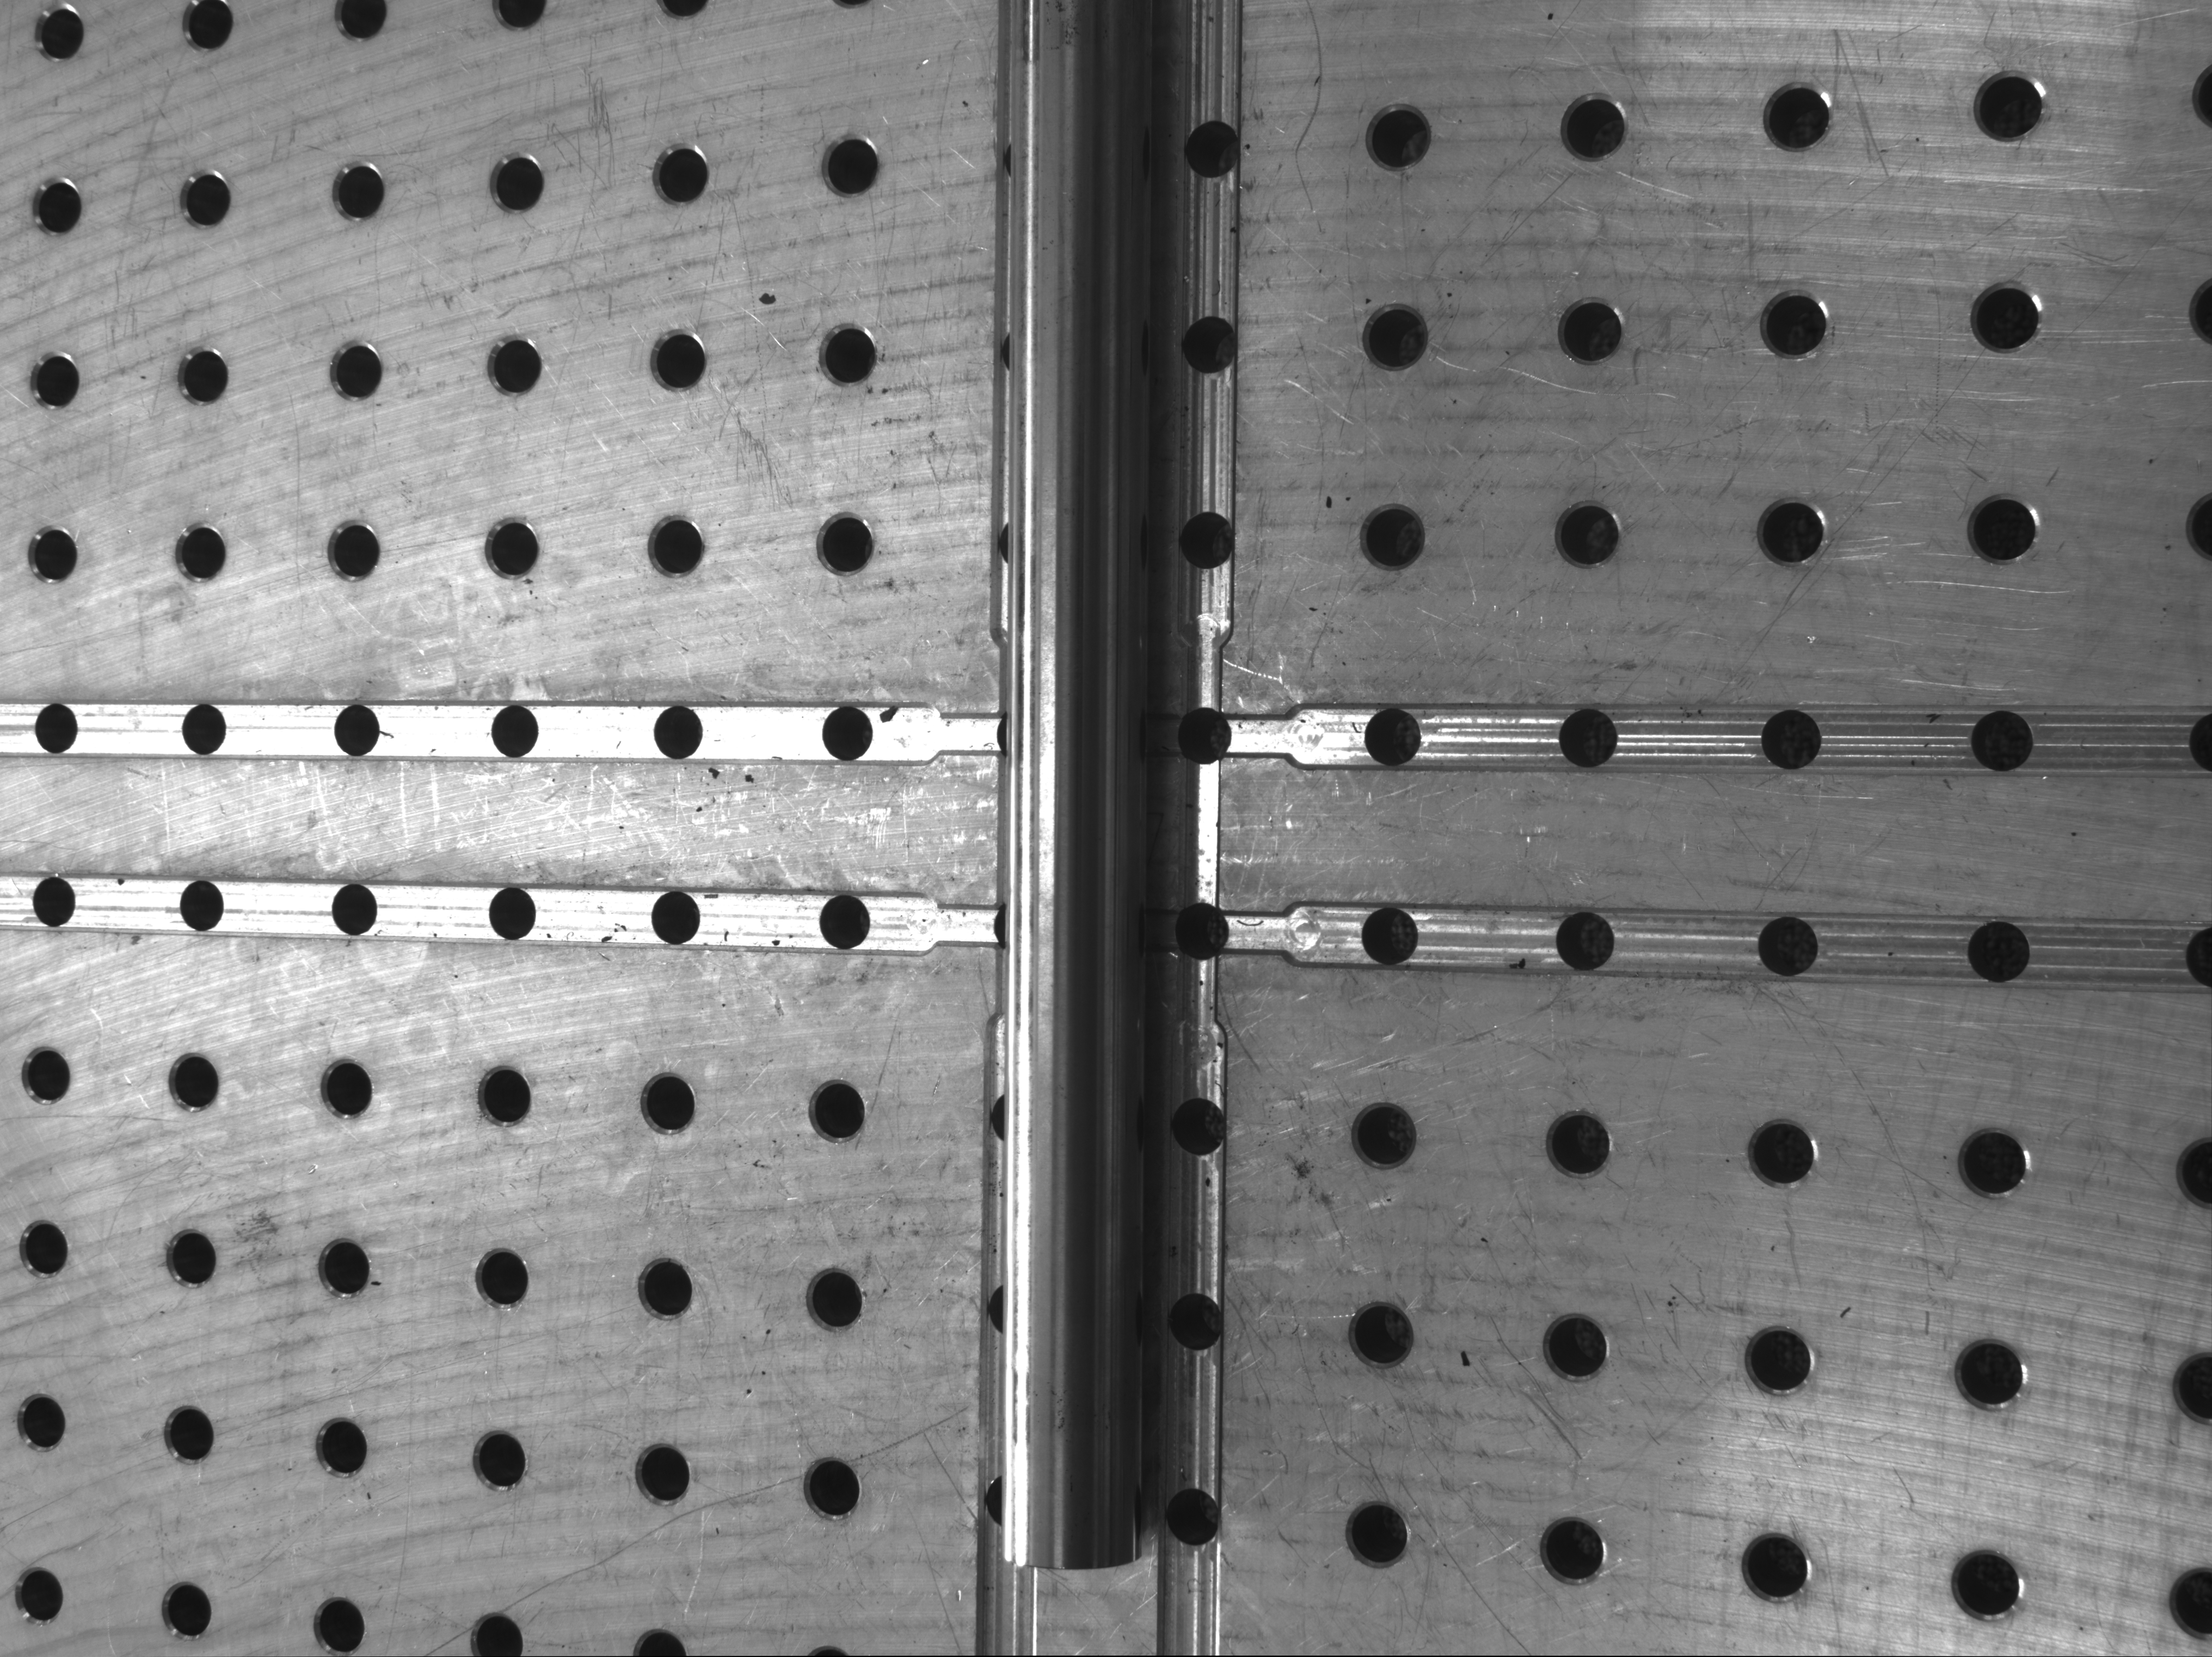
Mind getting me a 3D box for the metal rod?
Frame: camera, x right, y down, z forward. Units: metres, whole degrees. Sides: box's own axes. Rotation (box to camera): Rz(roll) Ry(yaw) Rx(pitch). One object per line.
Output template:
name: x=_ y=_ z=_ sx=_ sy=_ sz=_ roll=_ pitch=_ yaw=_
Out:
metal rod: x=-0.006 y=-0.021 z=0.652 sx=0.025 sy=0.025 sz=0.300 roll=1 pitch=90 yaw=20
